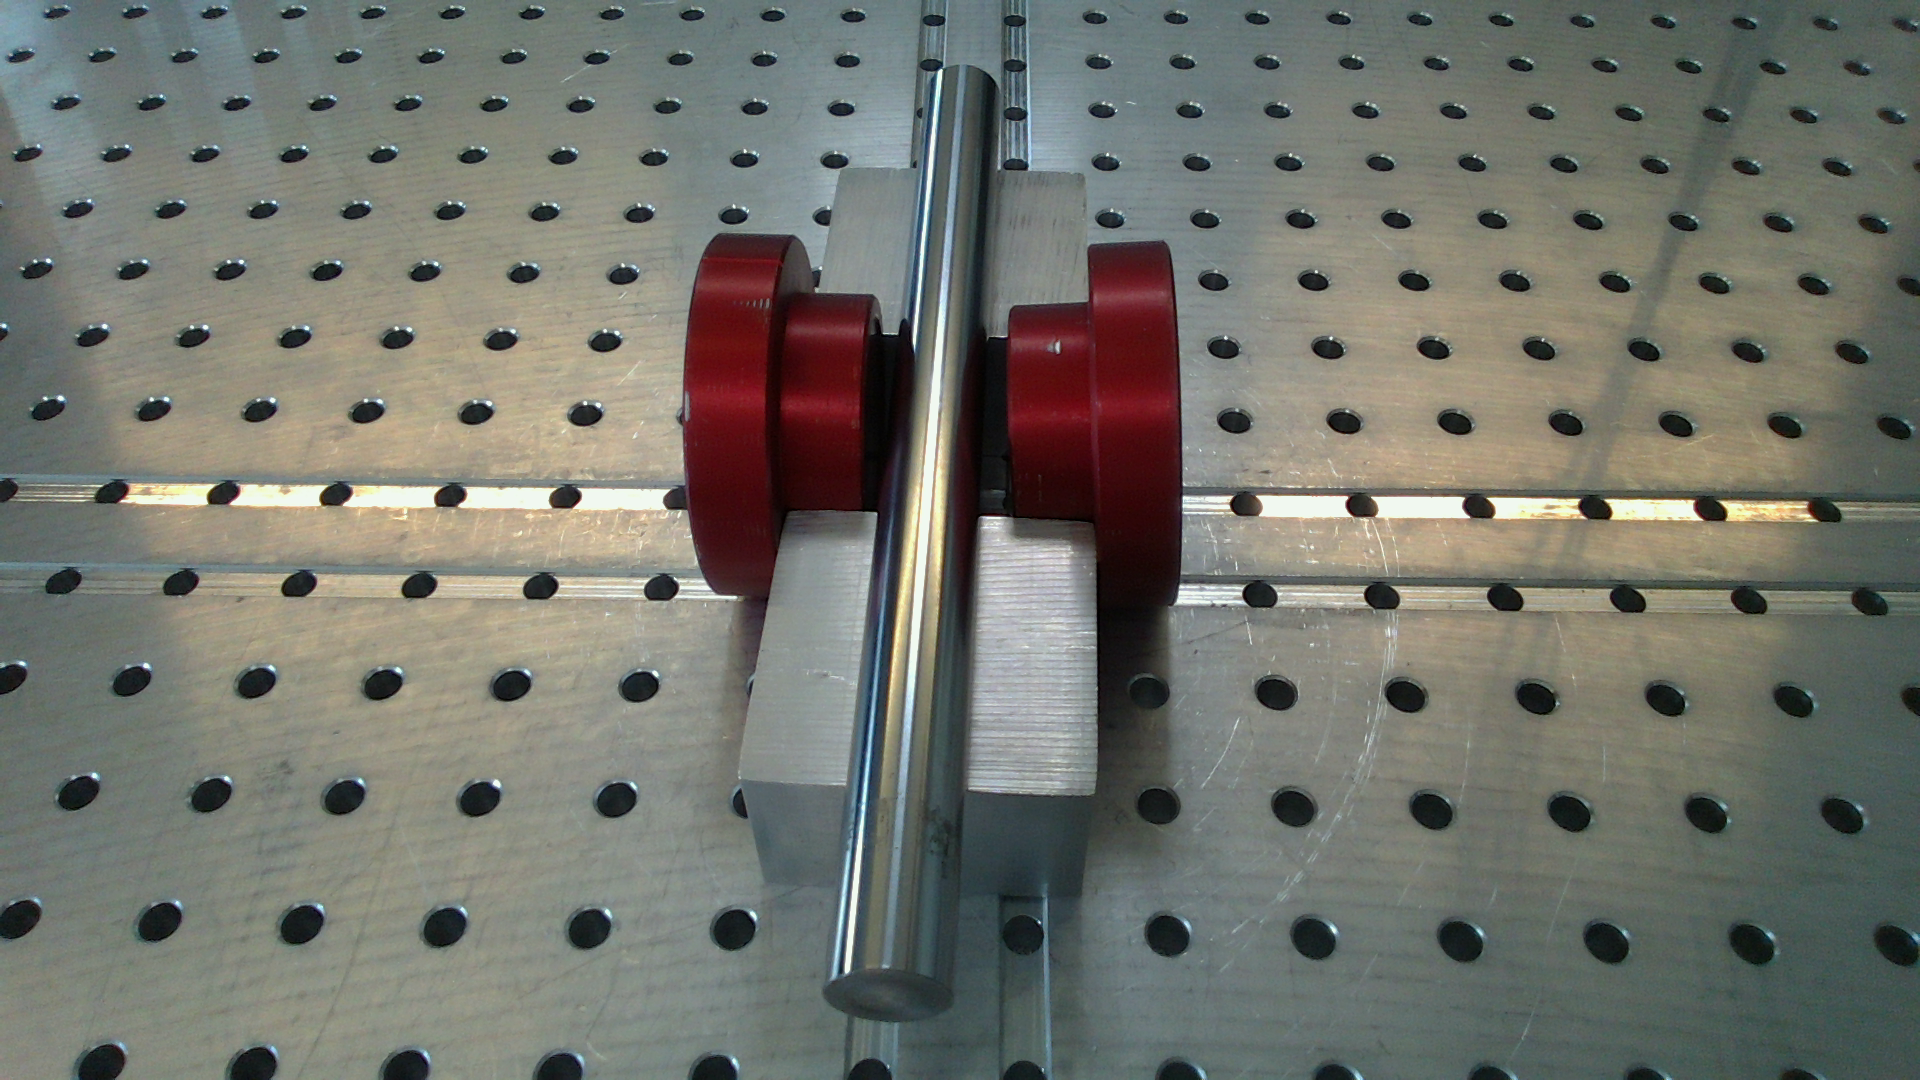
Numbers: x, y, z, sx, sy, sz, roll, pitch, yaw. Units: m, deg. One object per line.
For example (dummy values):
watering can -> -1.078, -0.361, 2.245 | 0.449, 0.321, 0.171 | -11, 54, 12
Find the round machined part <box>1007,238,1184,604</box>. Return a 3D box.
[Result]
round machined part -> 0.036, -0.031, 0.372 | 0.042, 0.098, 0.098 | -2, 50, 5

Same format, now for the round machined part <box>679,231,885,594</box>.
round machined part -> -0.044, -0.034, 0.374 | 0.042, 0.098, 0.098 | 1, 50, 2

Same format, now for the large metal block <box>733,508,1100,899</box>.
large metal block -> -0.007, 0.040, 0.344 | 0.080, 0.050, 0.080 | 2, 50, 2

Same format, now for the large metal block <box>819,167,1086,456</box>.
large metal block -> -0.001, -0.073, 0.440 | 0.080, 0.050, 0.080 | 2, 50, 1

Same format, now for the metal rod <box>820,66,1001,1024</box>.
metal rod -> -0.006, -0.029, 0.353 | 0.025, 0.025, 0.300 | 2, 50, 2
